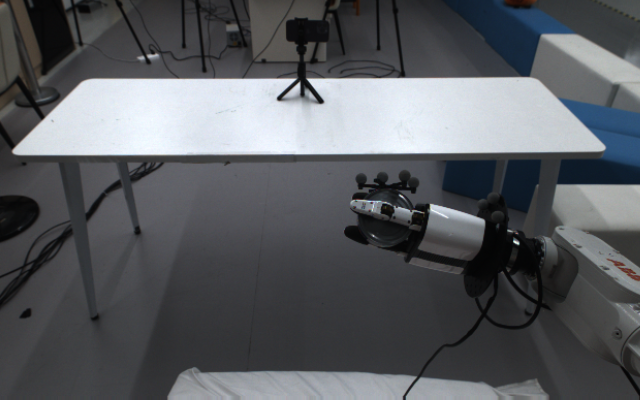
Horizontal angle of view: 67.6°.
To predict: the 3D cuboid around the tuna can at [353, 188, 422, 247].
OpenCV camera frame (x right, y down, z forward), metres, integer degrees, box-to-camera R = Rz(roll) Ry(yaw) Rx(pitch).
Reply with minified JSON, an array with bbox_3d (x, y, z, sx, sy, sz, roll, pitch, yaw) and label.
[{"bbox_3d":[0.099,0.026,0.723,0.085,0.034,0.085,0,75,0],"label":"tuna can"}]
